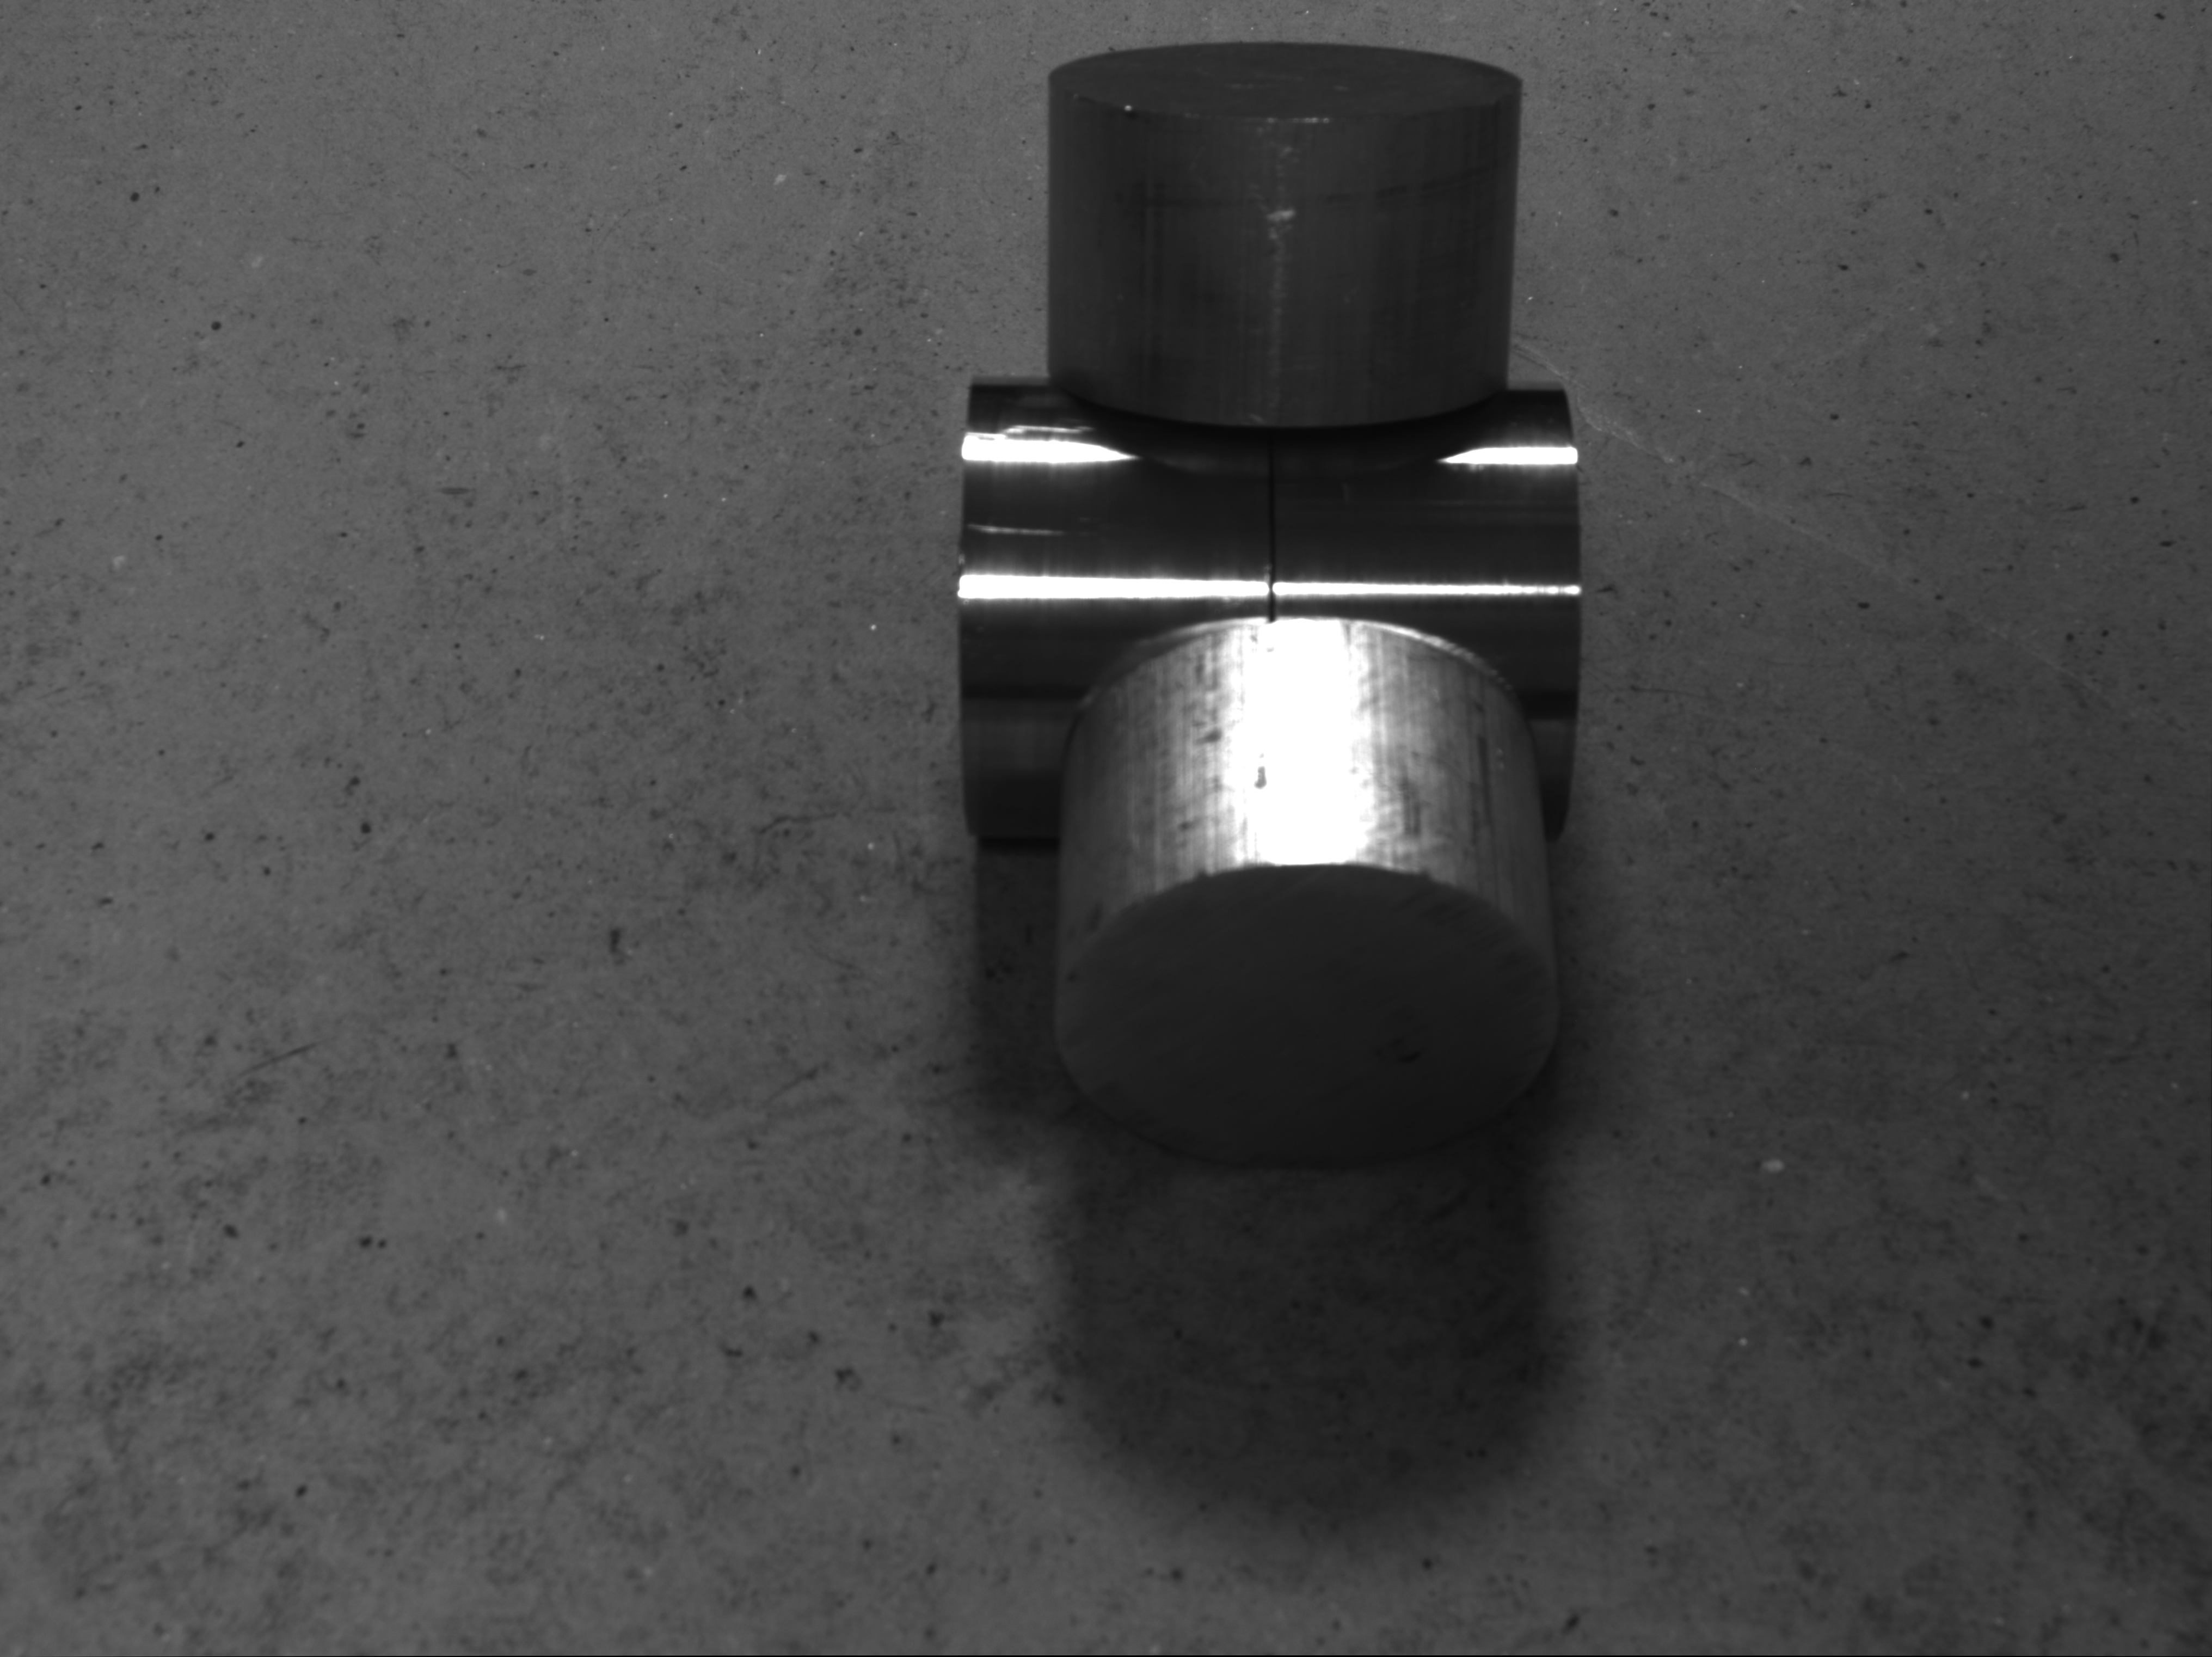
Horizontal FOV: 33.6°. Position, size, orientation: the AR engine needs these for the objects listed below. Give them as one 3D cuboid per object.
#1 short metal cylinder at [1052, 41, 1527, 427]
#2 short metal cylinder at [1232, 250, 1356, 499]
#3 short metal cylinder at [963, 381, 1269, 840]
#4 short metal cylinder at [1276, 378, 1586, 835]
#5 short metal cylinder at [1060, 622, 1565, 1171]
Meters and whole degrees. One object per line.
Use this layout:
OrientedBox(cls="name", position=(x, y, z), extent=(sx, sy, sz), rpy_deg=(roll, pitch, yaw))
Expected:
OrientedBox(cls="short metal cylinder", position=(0.031, -0.103, 0.627), extent=(0.080, 0.050, 0.080), rpy_deg=(0, 21, 0))
OrientedBox(cls="short metal cylinder", position=(0.037, -0.089, 0.702), extent=(0.080, 0.050, 0.080), rpy_deg=(0, 50, 0))
OrientedBox(cls="short metal cylinder", position=(0.002, -0.038, 0.639), extent=(0.050, 0.080, 0.080), rpy_deg=(1, 50, 1))
OrientedBox(cls="short metal cylinder", position=(0.054, -0.038, 0.638), extent=(0.050, 0.080, 0.080), rpy_deg=(0, 50, 1))
OrientedBox(cls="short metal cylinder", position=(0.033, 0.012, 0.596), extent=(0.080, 0.080, 0.050), rpy_deg=(0, 50, 0))
